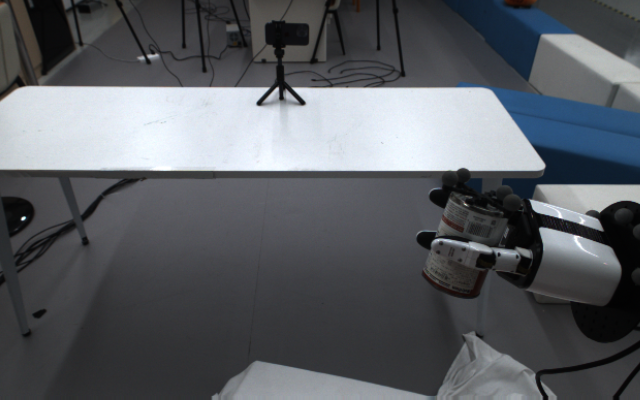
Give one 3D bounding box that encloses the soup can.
[{"bbox_3d":[0.164,0.047,0.540,0.067,0.101,0.067,13,18,-4],"label":"soup can"}]
